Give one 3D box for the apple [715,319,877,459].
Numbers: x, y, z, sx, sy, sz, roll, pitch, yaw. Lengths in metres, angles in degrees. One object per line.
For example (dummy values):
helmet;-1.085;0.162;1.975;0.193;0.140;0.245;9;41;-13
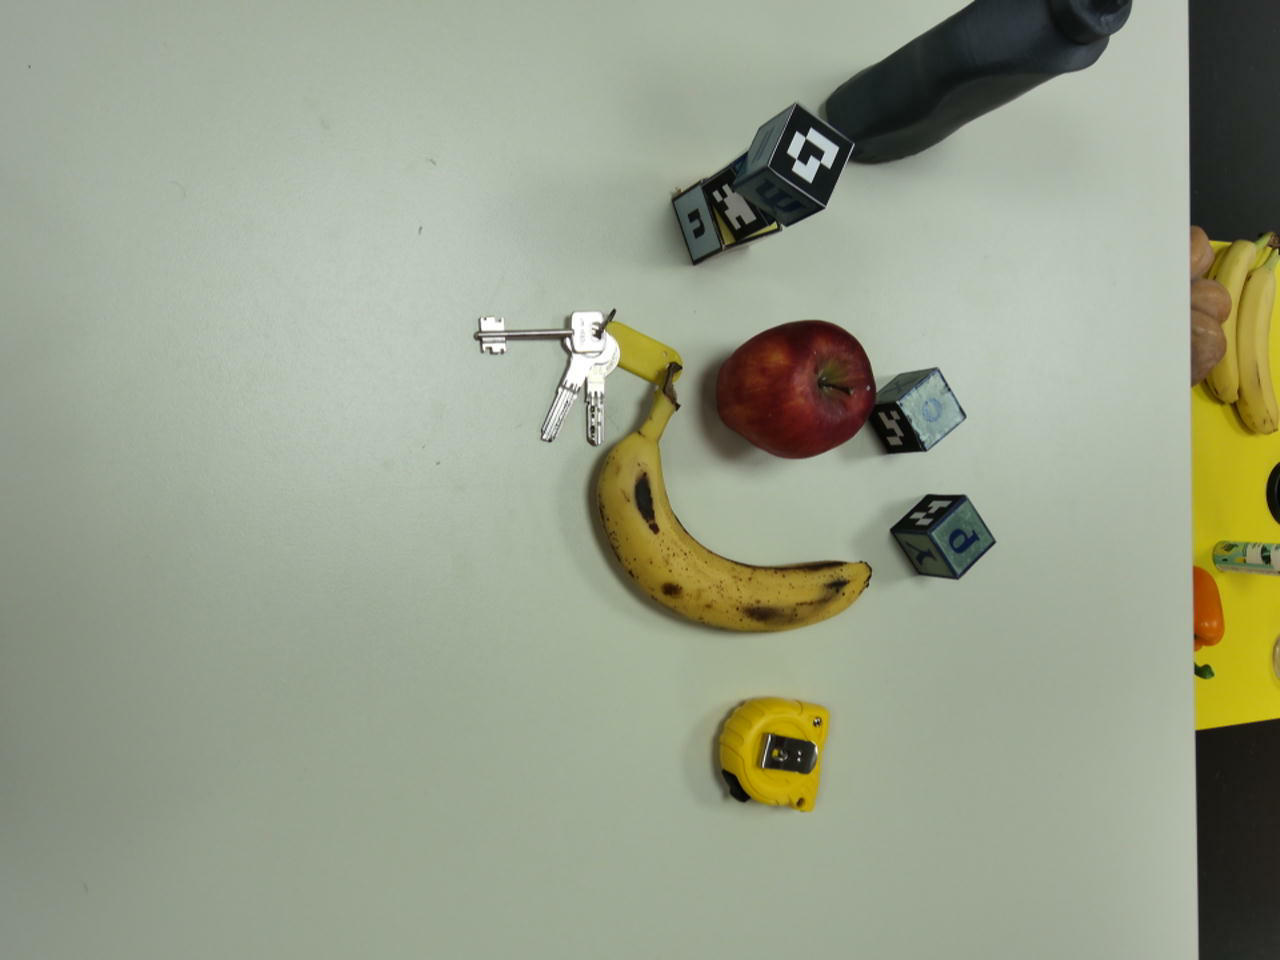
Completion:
apple;0.089;-0.050;0.555;0.083;0.090;0.083;0;90;-22
